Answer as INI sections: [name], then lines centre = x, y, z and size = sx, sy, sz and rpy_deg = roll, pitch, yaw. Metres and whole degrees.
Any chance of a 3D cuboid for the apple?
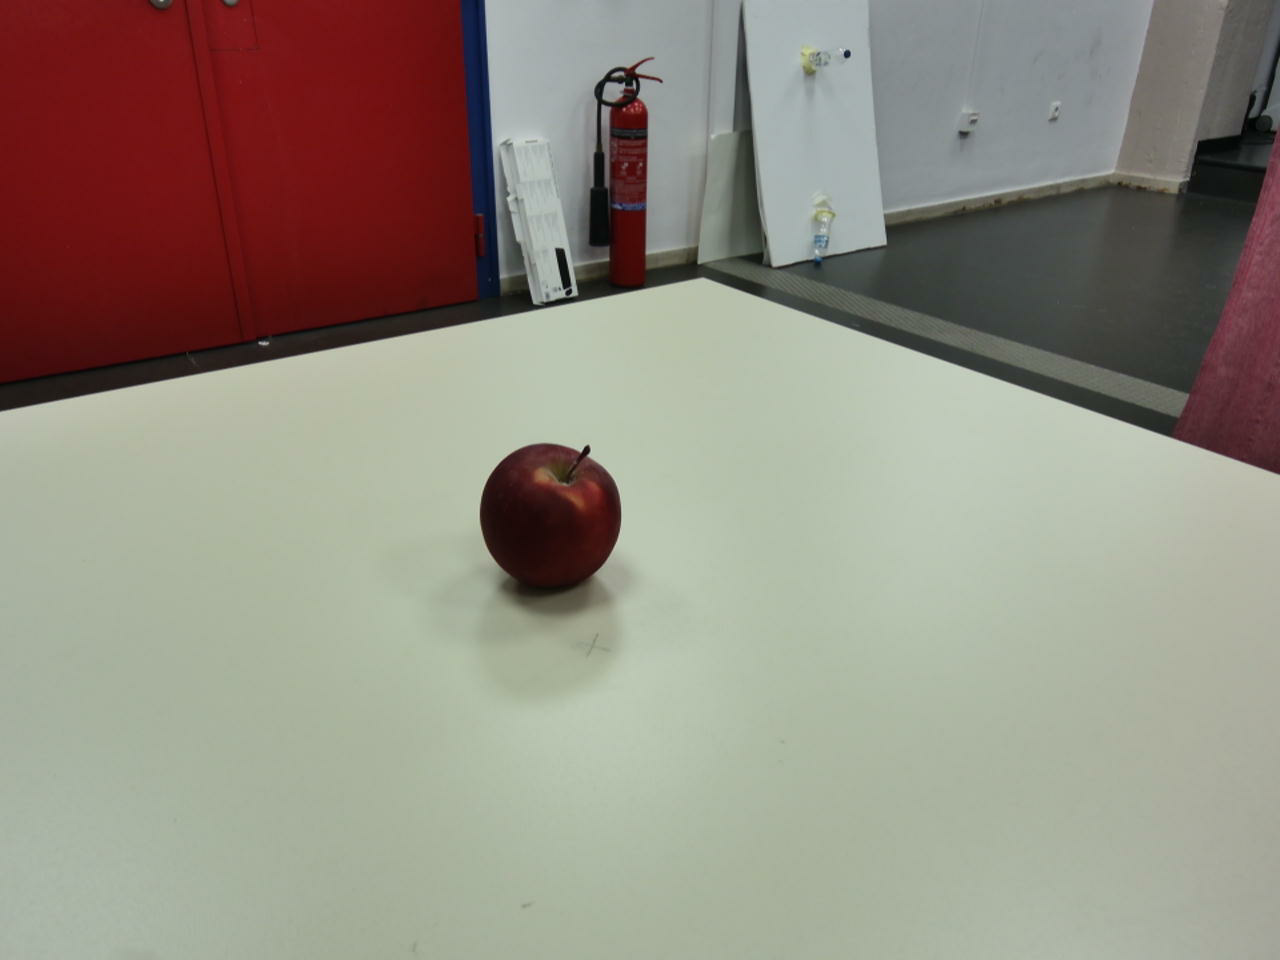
[apple]
centre = -0.044, 0.018, 0.492
size = 0.070, 0.072, 0.070
rpy_deg = 0, 25, 0
